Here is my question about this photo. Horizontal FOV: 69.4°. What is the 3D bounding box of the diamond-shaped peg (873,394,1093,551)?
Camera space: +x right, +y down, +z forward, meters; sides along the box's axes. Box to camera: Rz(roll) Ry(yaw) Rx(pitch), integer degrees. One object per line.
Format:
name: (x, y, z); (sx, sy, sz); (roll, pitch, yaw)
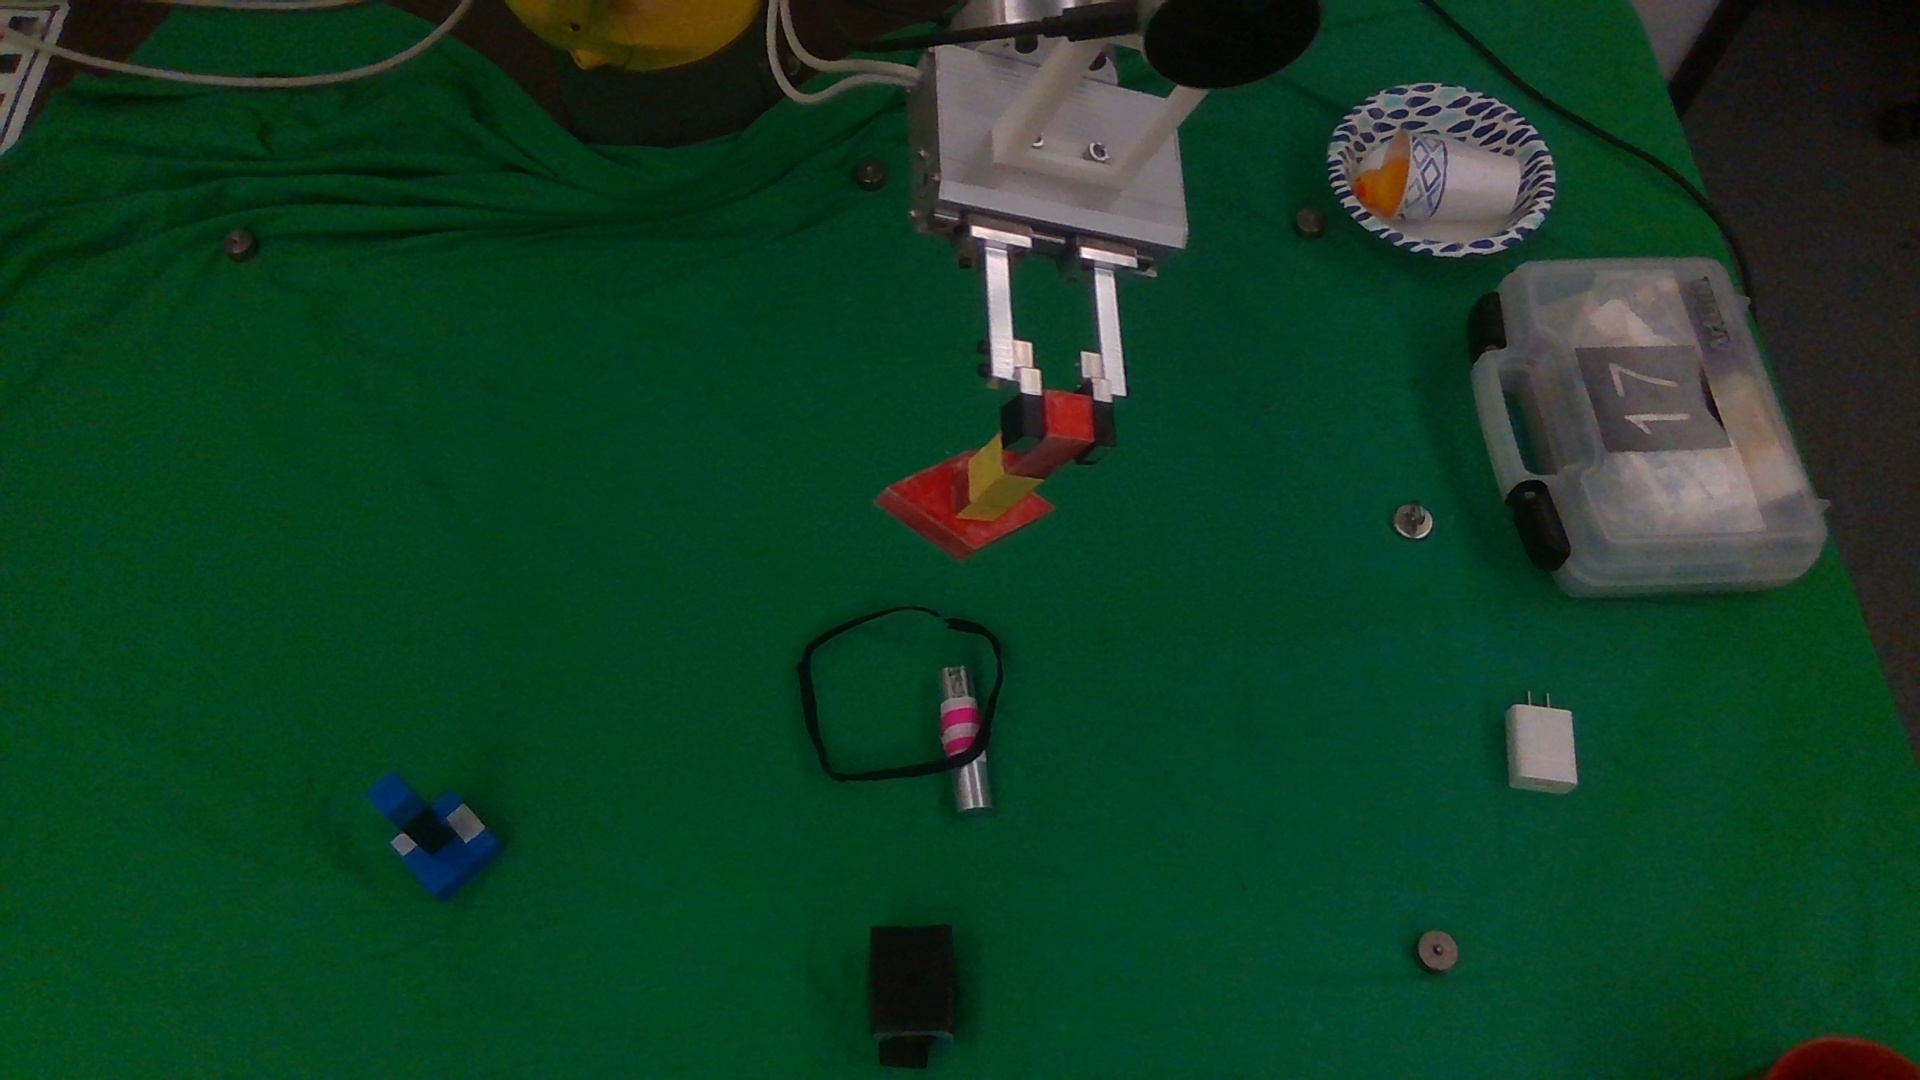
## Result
diamond-shaped peg: (0.020, -0.034, 0.616); (0.074, 0.122, 0.045); (-26, 86, -28)

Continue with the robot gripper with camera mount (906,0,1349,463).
robot gripper with camera mount: (0.077, -0.132, 0.541); (0.118, 0.194, 0.158); (9, 71, -30)
